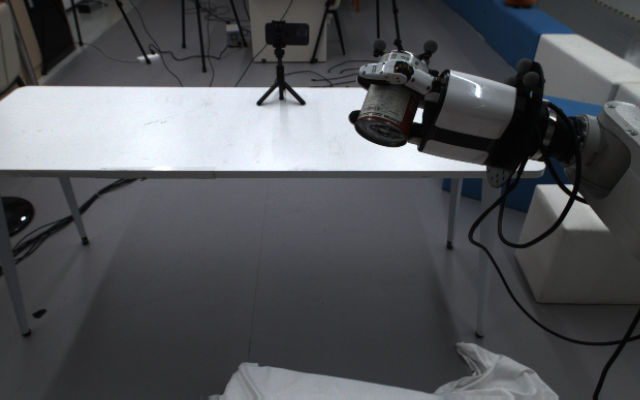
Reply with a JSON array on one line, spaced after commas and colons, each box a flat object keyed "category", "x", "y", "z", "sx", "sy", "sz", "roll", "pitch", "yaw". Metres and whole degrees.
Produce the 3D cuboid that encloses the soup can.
[{"category": "soup can", "x": 0.093, "y": -0.128, "z": 0.612, "sx": 0.067, "sy": 0.067, "sz": 0.101, "roll": 15, "pitch": 75, "yaw": 18}]
